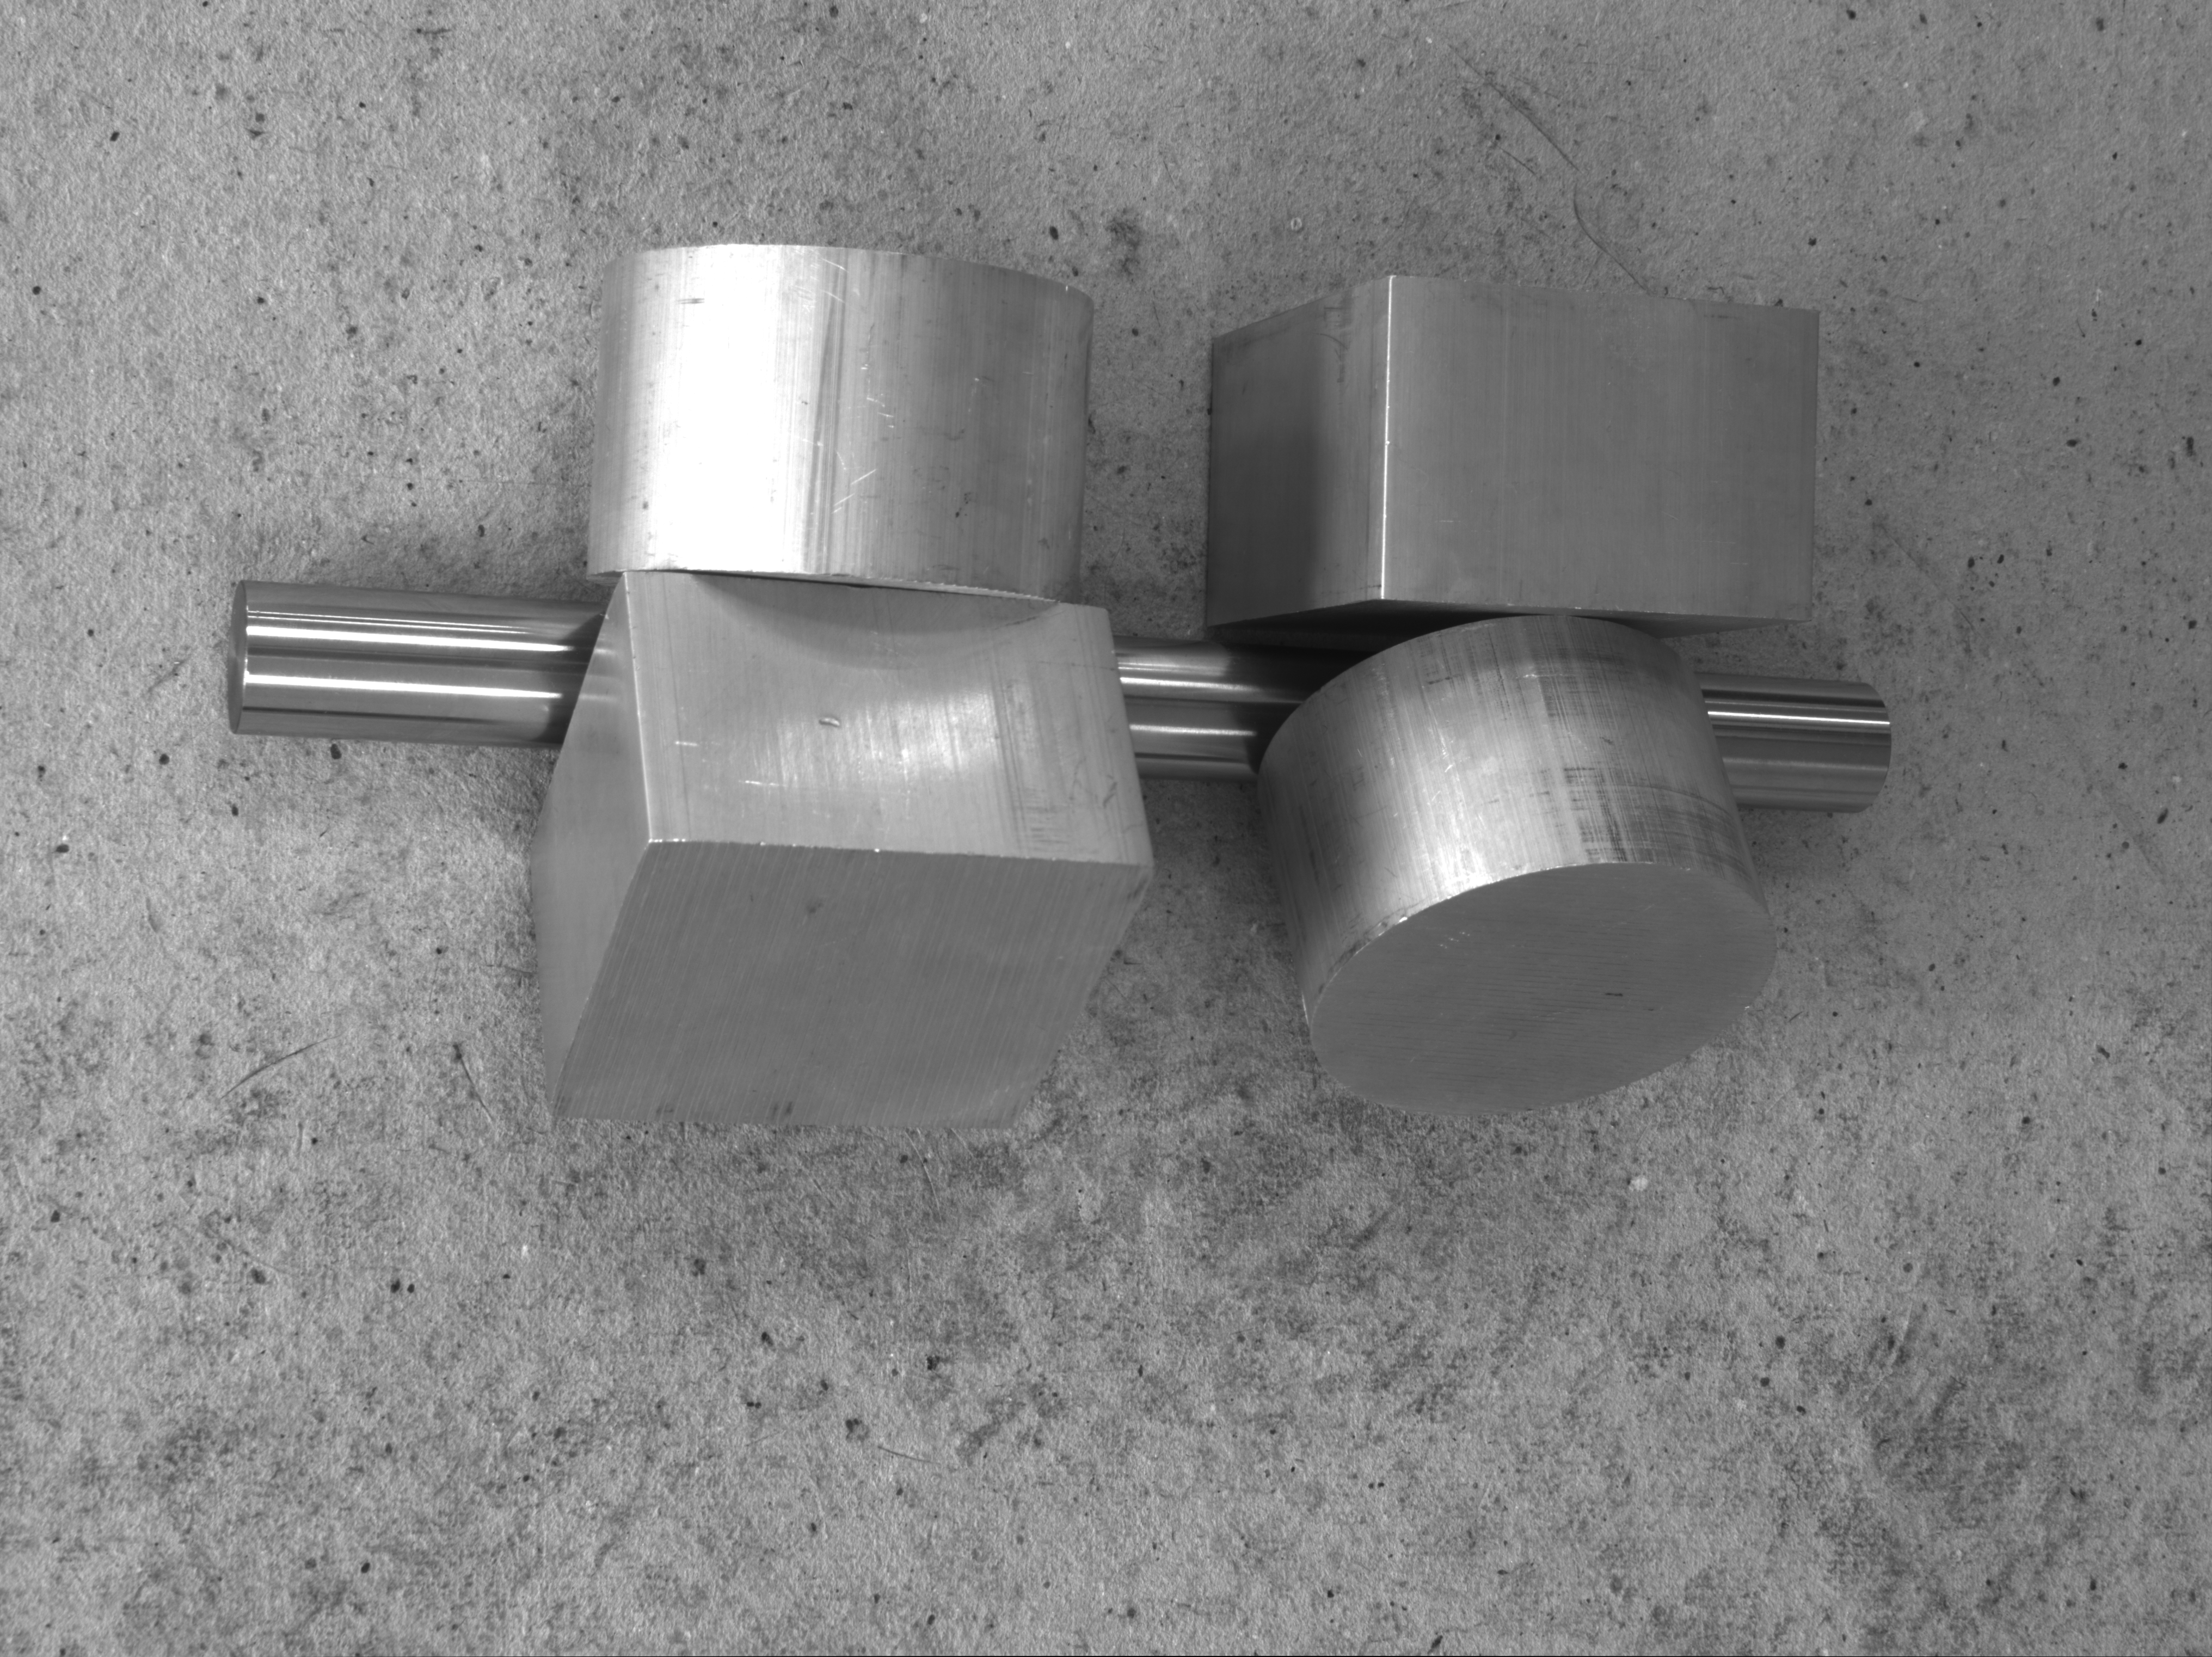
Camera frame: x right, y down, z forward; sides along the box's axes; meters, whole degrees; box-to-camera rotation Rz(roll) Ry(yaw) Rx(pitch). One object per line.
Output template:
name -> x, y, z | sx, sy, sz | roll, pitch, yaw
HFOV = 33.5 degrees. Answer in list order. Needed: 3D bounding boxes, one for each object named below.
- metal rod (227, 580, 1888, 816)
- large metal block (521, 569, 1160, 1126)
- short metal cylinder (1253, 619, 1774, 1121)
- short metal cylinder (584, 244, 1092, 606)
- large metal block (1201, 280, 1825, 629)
metal rod -> 0.000, -0.021, 0.646 | 0.301, 0.025, 0.025 | 3, 89, -20
large metal block -> -0.045, 0.005, 0.592 | 0.080, 0.080, 0.050 | 3, 55, -20
short metal cylinder -> 0.069, 0.008, 0.633 | 0.080, 0.080, 0.050 | 2, 54, -20
short metal cylinder -> -0.044, -0.063, 0.598 | 0.080, 0.080, 0.050 | 4, 89, -20
large metal block -> 0.069, -0.062, 0.639 | 0.080, 0.080, 0.050 | 2, 89, -20
